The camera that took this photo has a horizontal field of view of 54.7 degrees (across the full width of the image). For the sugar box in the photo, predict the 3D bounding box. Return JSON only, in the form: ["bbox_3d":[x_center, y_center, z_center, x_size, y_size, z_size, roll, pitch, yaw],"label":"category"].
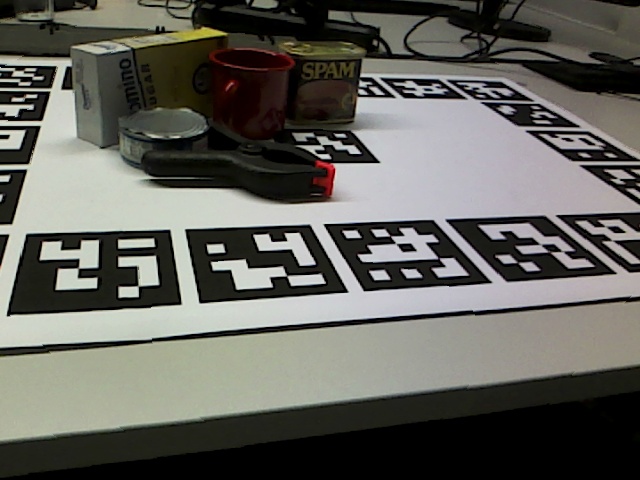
[{"bbox_3d":[-0.175,-0.167,0.661,0.045,0.093,0.175,25,34,28],"label":"sugar box"}]

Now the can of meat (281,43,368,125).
[{"bbox_3d":[0.000,-0.187,0.745,0.101,0.083,0.058,-5,32,-24],"label":"can of meat"}]

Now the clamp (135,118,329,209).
[{"bbox_3d":[-0.071,-0.069,0.580,0.165,0.036,0.121,21,29,12],"label":"clamp"}]

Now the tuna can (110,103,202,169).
[{"bbox_3d":[-0.159,-0.101,0.601,0.085,0.033,0.086,6,33,-4],"label":"tuna can"}]

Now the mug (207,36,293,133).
[{"bbox_3d":[-0.082,-0.164,0.673,0.093,0.081,0.117,12,33,5],"label":"mug"}]
